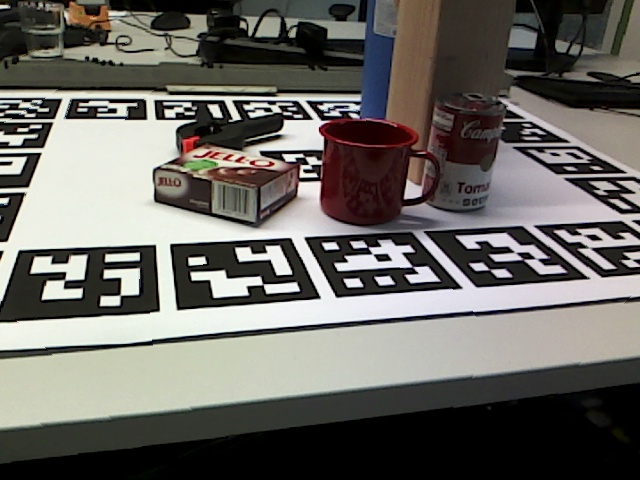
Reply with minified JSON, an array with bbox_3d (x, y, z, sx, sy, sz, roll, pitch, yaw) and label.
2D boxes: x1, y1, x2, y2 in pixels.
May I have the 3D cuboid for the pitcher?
[{"bbox_3d":[0.131,-0.248,0.776,0.188,0.242,0.134,-6,27,-14],"label":"pitcher"}]

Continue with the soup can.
[{"bbox_3d":[0.140,-0.087,0.617,0.068,0.102,0.068,4,30,-2],"label":"soup can"}]

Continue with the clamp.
[{"bbox_3d":[-0.117,-0.126,0.743,0.122,0.036,0.165,16,30,7],"label":"clamp"}]

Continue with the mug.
[{"bbox_3d":[0.055,-0.062,0.582,0.117,0.081,0.093,13,26,18],"label":"mug"}]

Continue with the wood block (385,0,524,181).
[{"bbox_3d":[0.137,-0.176,0.673,0.089,0.206,0.091,-2,28,-19],"label":"wood block"}]

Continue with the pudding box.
[{"bbox_3d":[-0.095,-0.054,0.598,0.114,0.038,0.090,14,32,19],"label":"pudding box"}]
